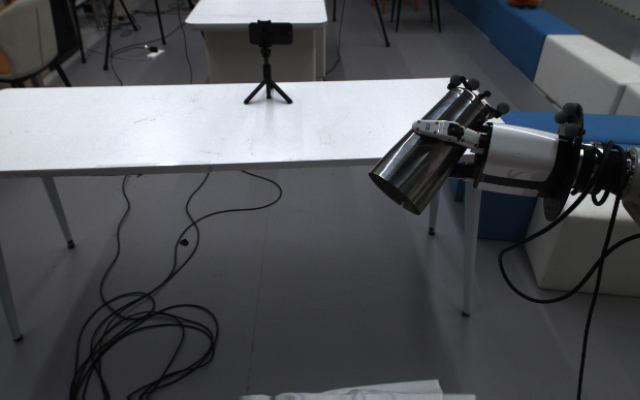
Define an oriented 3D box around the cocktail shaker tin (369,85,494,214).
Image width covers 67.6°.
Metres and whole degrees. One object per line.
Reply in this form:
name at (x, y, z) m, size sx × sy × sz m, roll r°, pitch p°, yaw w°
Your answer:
cocktail shaker tin at (0.158, -0.077, 0.679) m, size 0.170 × 0.093 × 0.093 m, roll -48°, pitch 49°, yaw -3°
